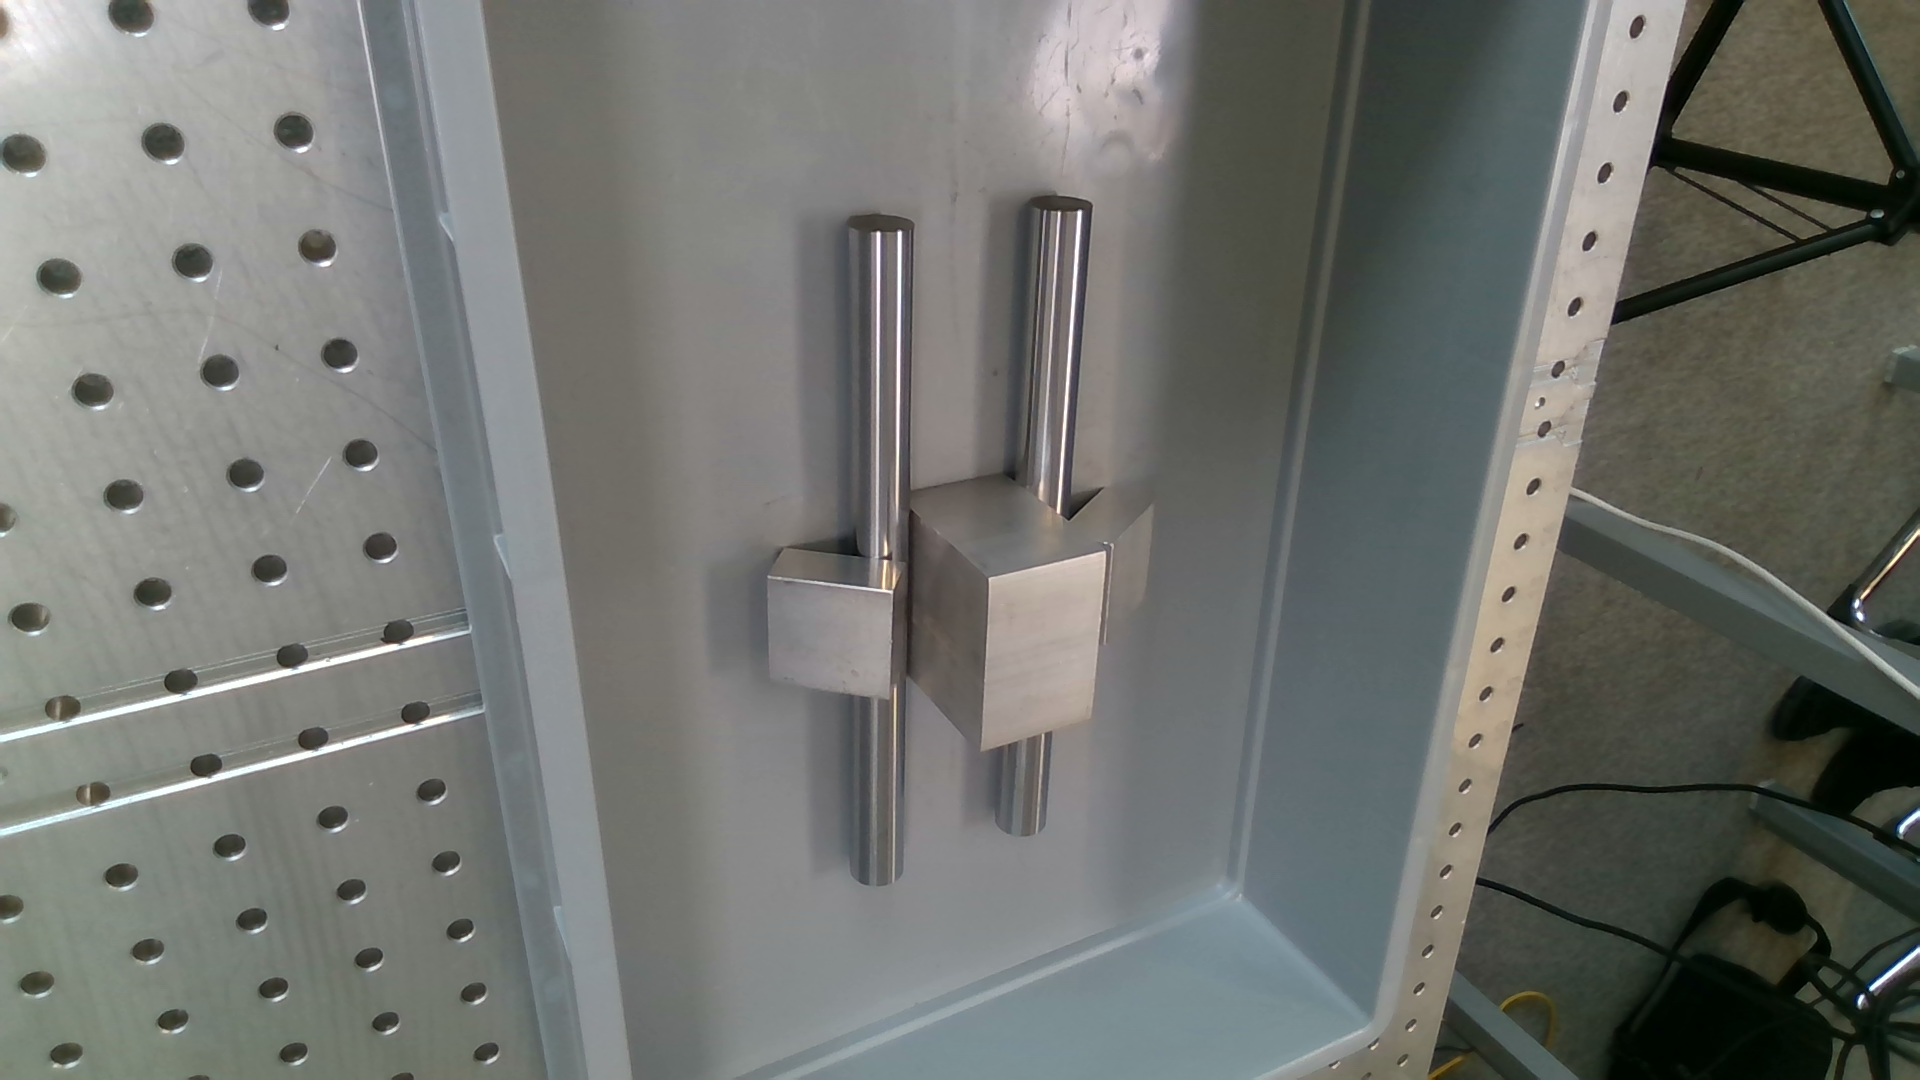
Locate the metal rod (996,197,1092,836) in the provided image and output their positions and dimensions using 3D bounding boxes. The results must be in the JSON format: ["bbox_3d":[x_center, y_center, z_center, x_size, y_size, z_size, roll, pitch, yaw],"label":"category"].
[{"bbox_3d":[0.034,0.003,0.601,0.025,0.025,0.301,-13,121,-26],"label":"metal rod"}]

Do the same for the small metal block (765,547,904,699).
[{"bbox_3d":[-0.050,0.033,0.552,0.050,0.025,0.050,6,118,7],"label":"small metal block"}]

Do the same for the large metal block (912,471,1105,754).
[{"bbox_3d":[0.014,0.027,0.567,0.050,0.080,0.080,-13,121,-26],"label":"large metal block"}]

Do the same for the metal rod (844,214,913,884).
[{"bbox_3d":[-0.034,0.018,0.569,0.025,0.025,0.301,-13,121,-26],"label":"metal rod"}]

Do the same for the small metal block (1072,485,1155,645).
[{"bbox_3d":[0.064,0.010,0.610,0.050,0.025,0.050,-42,140,-52],"label":"small metal block"}]
